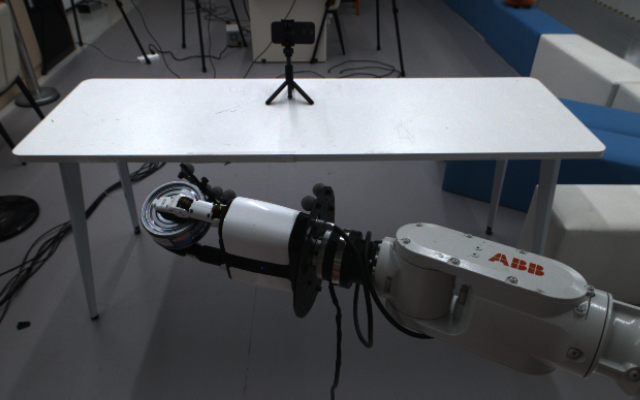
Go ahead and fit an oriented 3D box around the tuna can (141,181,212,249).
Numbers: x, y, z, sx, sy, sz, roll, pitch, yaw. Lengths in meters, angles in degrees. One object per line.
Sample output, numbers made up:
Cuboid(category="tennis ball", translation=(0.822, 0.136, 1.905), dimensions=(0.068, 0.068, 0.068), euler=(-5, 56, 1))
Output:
Cuboid(category="tuna can", translation=(-0.183, 0.019, 0.623), dimensions=(0.085, 0.034, 0.085), euler=(-4, 58, 6))
